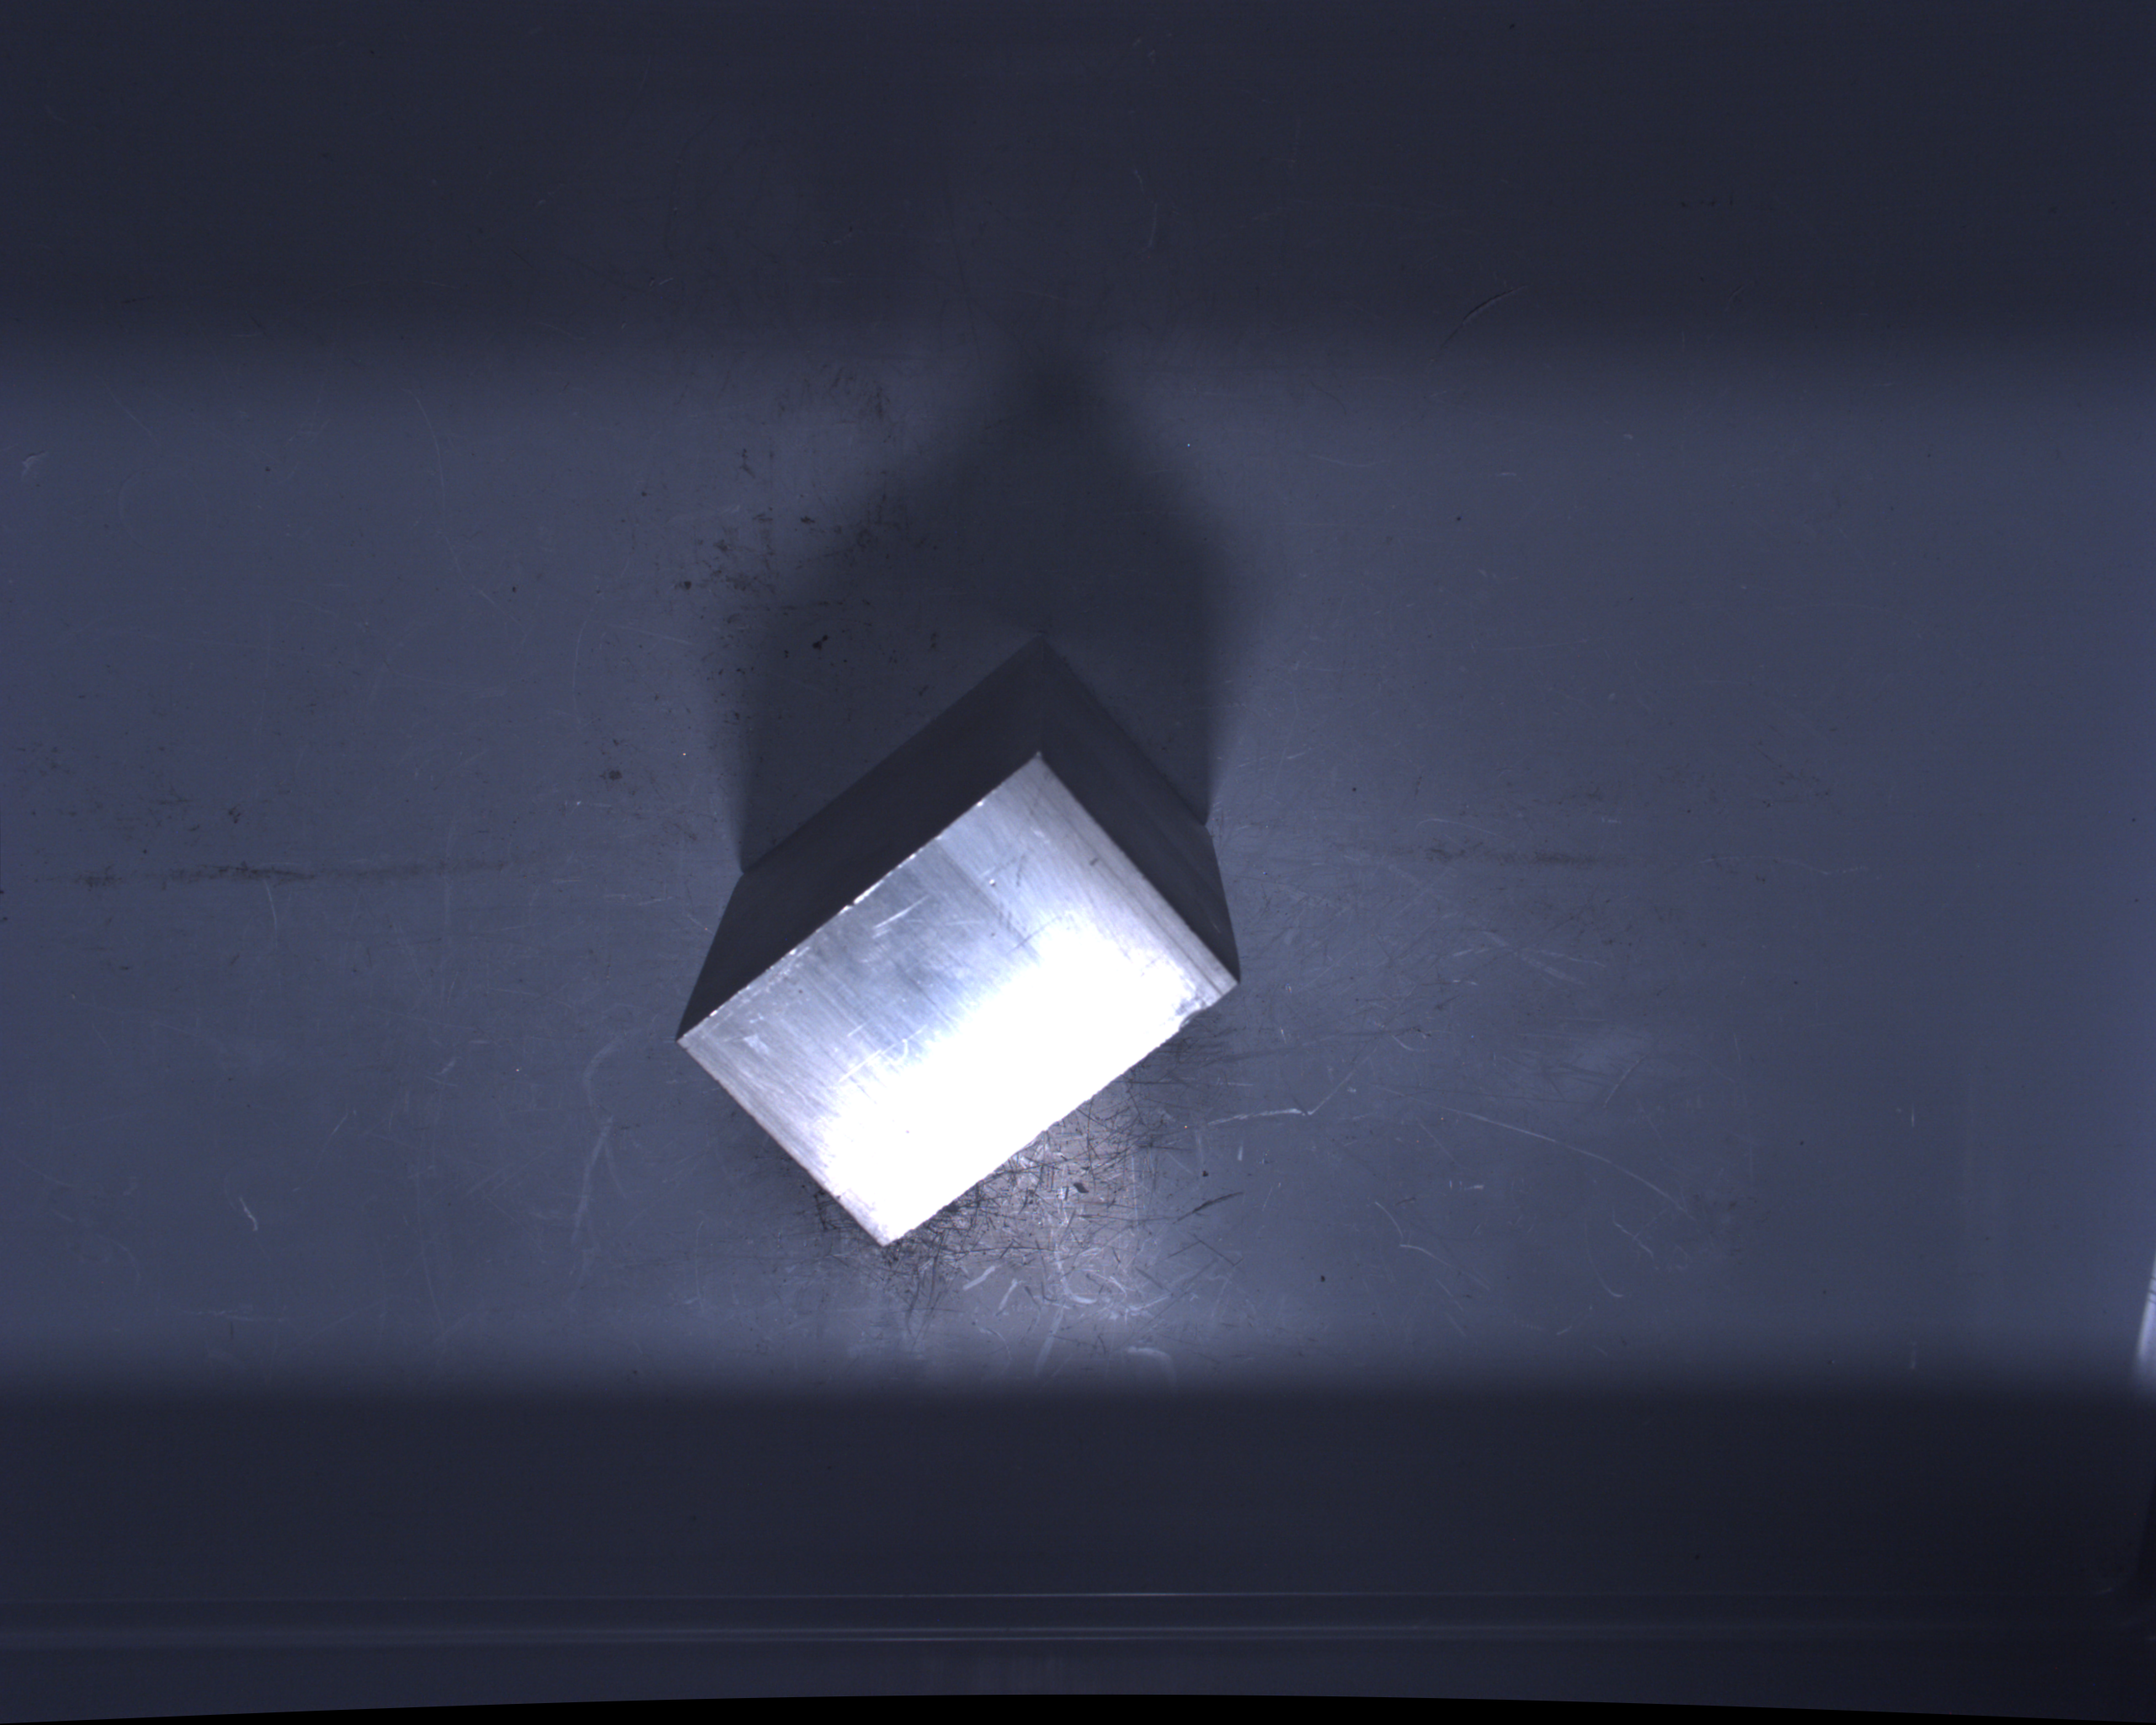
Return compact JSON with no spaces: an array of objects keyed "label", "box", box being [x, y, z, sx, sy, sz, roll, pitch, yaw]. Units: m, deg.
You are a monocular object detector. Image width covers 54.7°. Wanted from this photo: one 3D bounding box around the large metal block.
[{"label":"large metal block","box":[-0.020,0.011,0.383,0.080,0.080,0.050,-38,106,12]}]
